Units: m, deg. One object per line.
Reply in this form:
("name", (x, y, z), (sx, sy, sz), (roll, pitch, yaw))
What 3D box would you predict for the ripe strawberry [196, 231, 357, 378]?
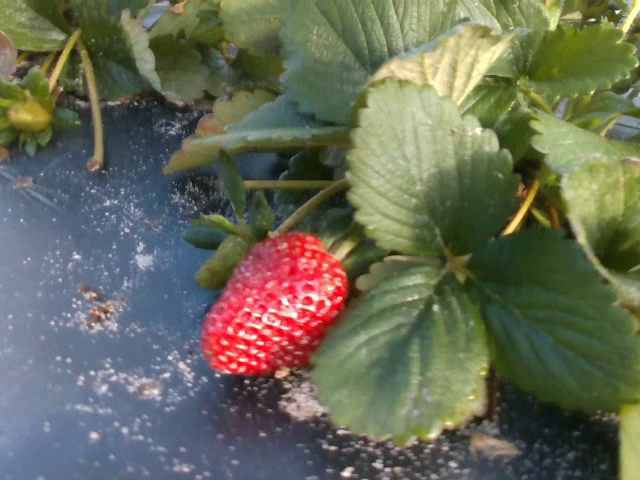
("ripe strawberry", (-0.011, 0.012, 0.107), (0.029, 0.021, 0.036), (19, 43, 34))
